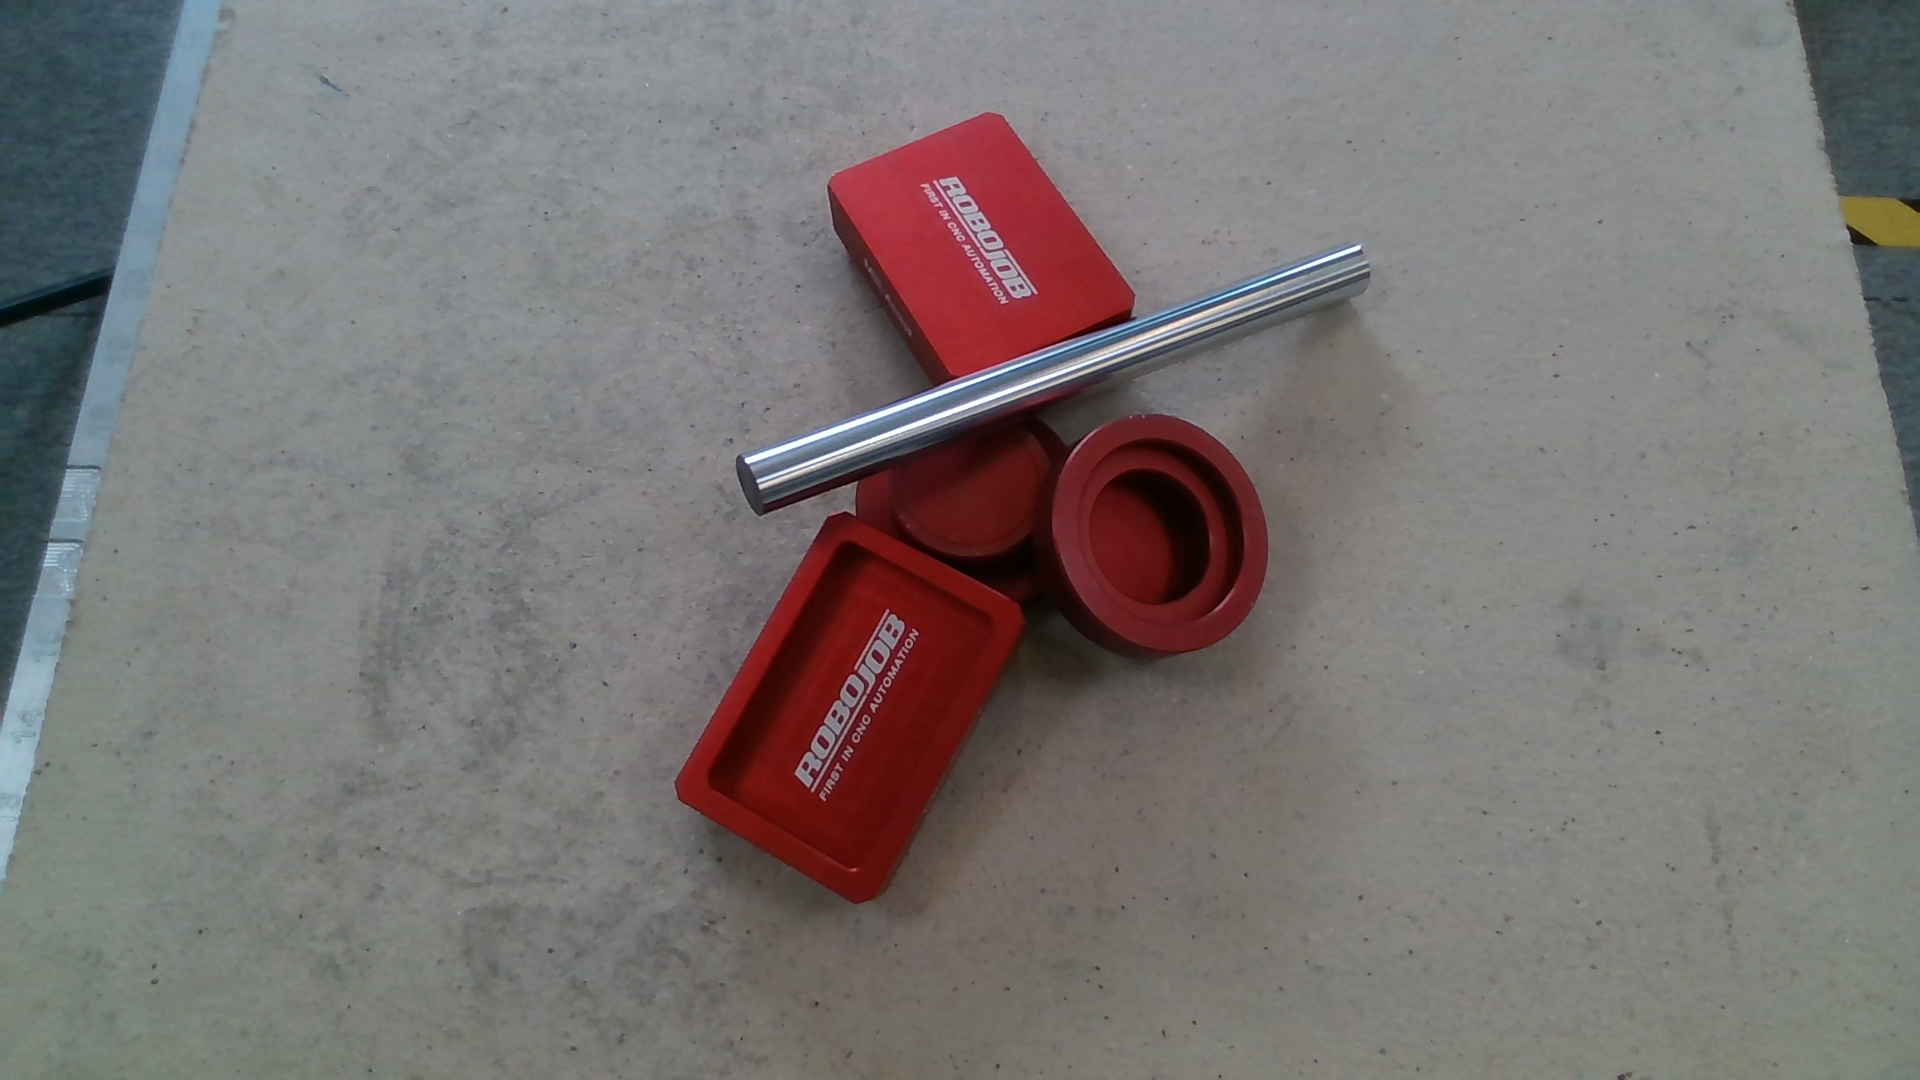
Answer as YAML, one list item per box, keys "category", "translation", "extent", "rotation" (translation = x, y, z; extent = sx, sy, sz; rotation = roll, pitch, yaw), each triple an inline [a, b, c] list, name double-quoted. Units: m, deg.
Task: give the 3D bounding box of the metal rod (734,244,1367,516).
- category: "metal rod"
  translation: [0.049, -0.072, 0.579]
  extent: [0.300, 0.025, 0.025]
  rotation: [-22, 71, -21]

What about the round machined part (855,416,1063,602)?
- category: "round machined part"
  translation: [0.004, -0.018, 0.586]
  extent: [0.098, 0.042, 0.098]
  rotation: [0, 70, 0]

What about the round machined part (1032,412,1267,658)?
- category: "round machined part"
  translation: [0.074, 0.000, 0.568]
  extent: [0.098, 0.042, 0.098]
  rotation: [5, 76, -21]

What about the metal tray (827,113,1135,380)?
- category: "metal tray"
  translation: [0.008, -0.126, 0.620]
  extent: [0.090, 0.030, 0.130]
  rotation: [-25, 64, -12]

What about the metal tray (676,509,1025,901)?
- category: "metal tray"
  translation: [-0.042, 0.065, 0.551]
  extent: [0.090, 0.030, 0.130]
  rotation: [28, 83, 9]
